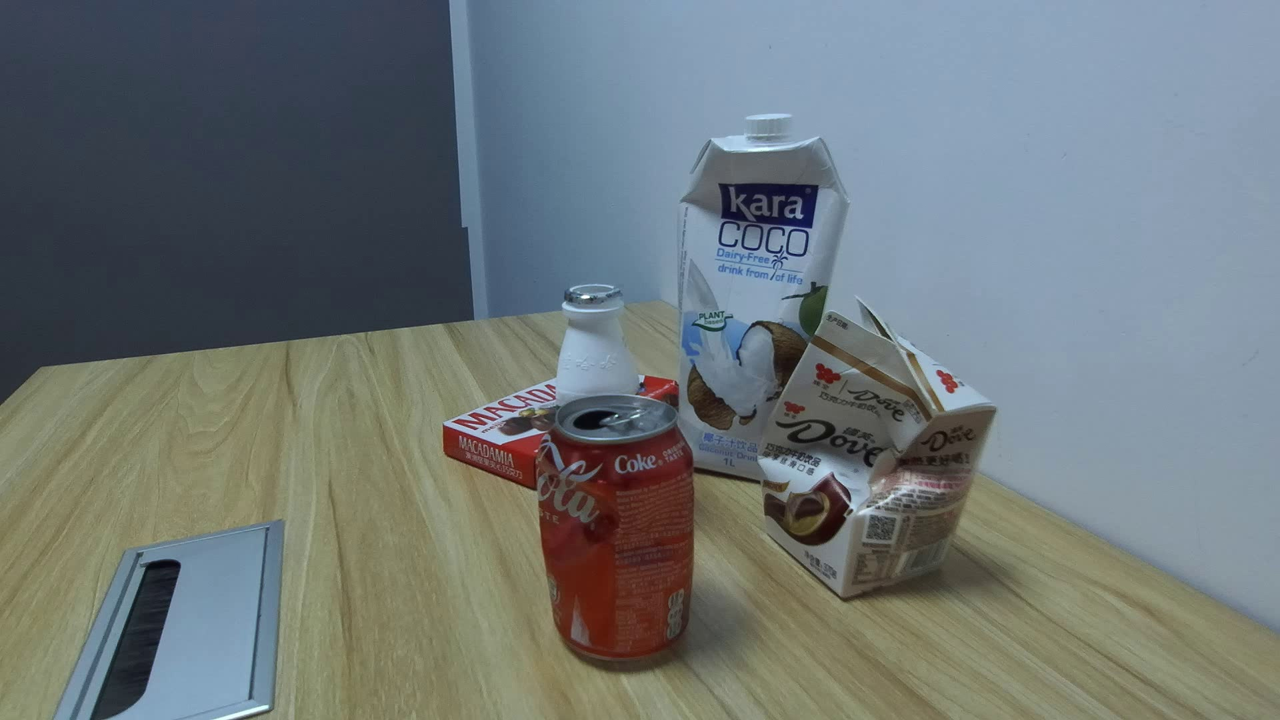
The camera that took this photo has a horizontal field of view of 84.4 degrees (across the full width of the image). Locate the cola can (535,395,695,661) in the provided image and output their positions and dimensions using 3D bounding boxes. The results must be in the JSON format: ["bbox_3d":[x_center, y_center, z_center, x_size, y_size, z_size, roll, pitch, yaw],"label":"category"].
[{"bbox_3d":[-0.009,0.078,0.332,0.067,0.117,0.065,-9,19,-28],"label":"cola can"}]

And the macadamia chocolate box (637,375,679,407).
[{"bbox_3d":[-0.057,0.045,0.562,0.105,0.028,0.184,12,22,32],"label":"macadamia chocolate box"}]

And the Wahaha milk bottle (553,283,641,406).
[{"bbox_3d":[-0.022,0.029,0.412,0.056,0.148,0.056,-2,20,1],"label":"Wahaha milk bottle"}]

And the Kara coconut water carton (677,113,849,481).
[{"bbox_3d":[0.074,-0.040,0.474,0.115,0.238,0.069,10,19,19],"label":"Kara coconut water carton"}]

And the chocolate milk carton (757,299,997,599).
[{"bbox_3d":[0.121,0.047,0.372,0.077,0.155,0.089,-14,38,-24],"label":"chocolate milk carton"}]
